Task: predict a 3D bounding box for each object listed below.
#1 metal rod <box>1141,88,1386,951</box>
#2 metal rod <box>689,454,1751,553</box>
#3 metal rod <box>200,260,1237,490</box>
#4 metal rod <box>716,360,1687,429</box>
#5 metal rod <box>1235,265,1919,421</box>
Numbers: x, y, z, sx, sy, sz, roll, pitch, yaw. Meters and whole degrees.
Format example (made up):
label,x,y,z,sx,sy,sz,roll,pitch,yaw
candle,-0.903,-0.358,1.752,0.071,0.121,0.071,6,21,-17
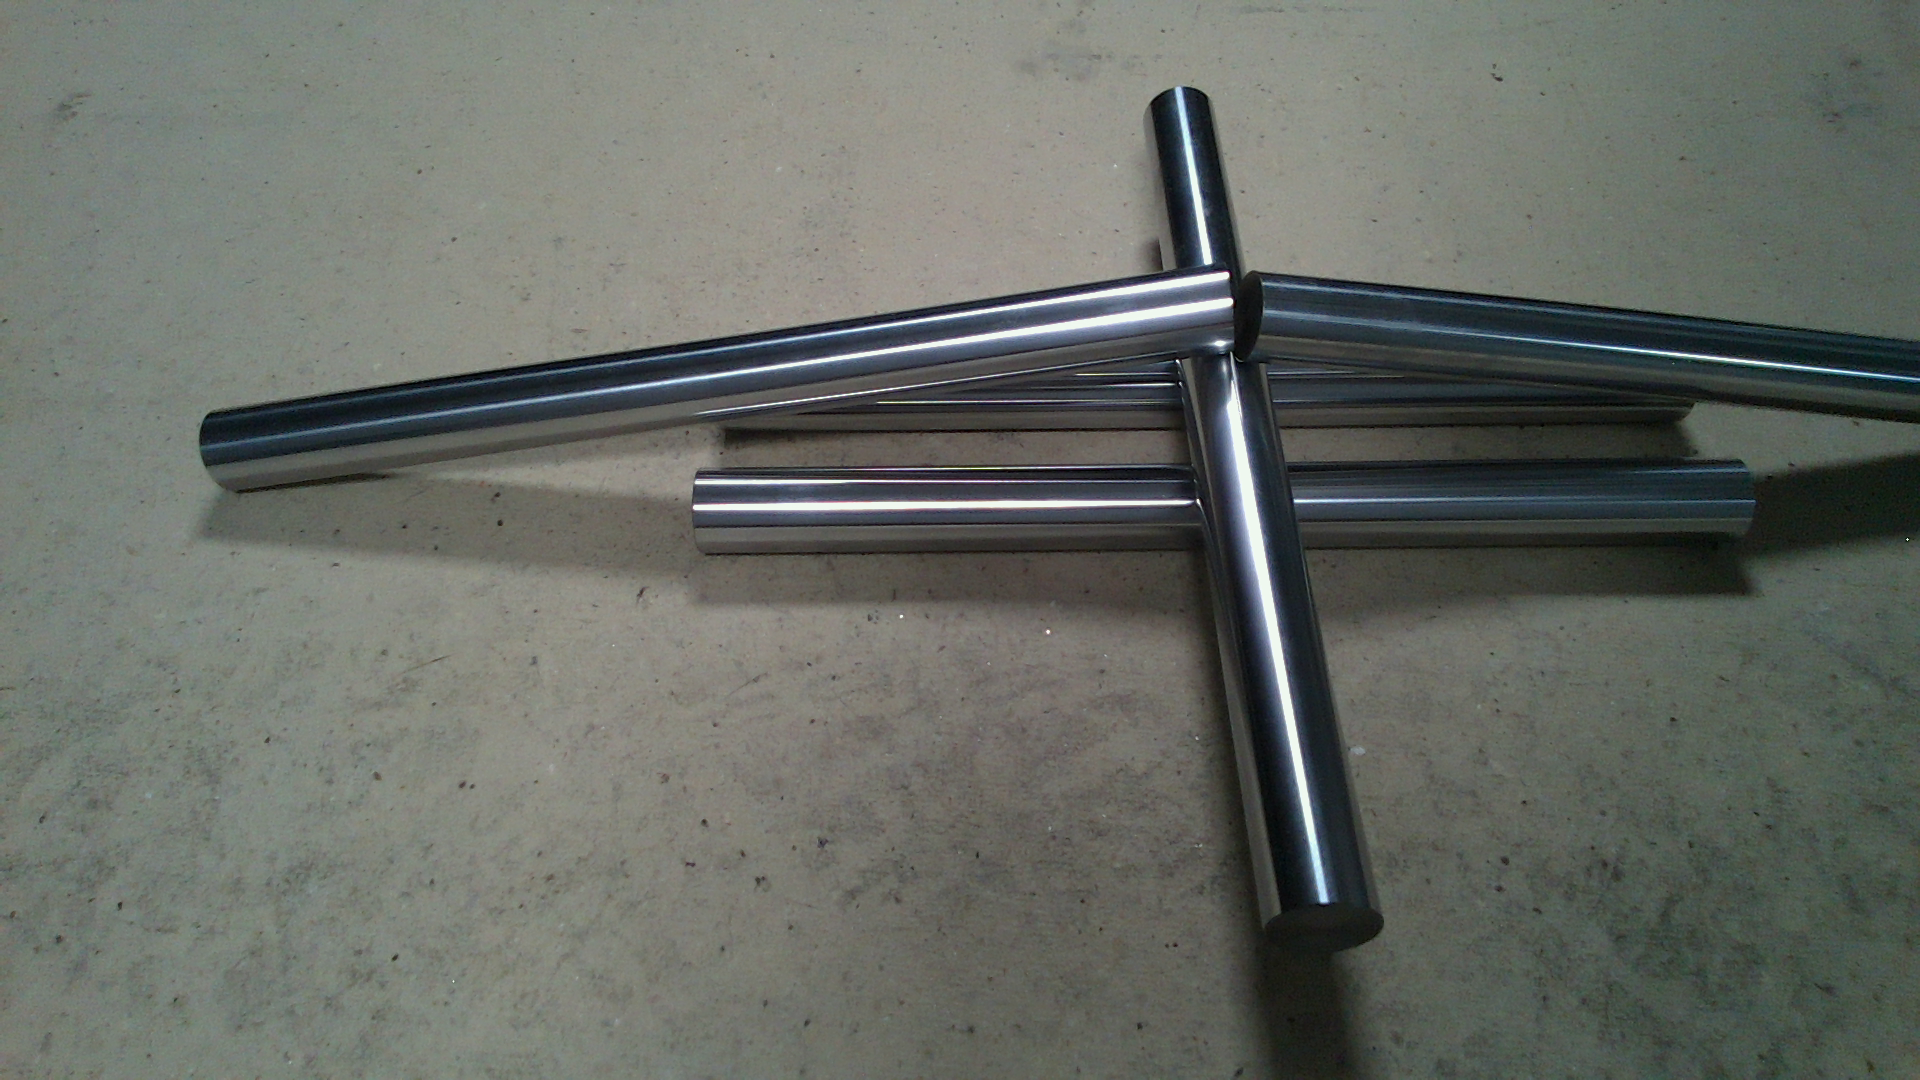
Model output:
label,x,y,z,sx,sy,sz,roll,pitch,yaw
metal rod,0.076,-0.033,0.387,0.025,0.025,0.300,0,50,0
metal rod,0.074,-0.011,0.400,0.300,0.025,0.025,-1,50,-1
metal rod,-0.073,-0.046,0.398,0.300,0.025,0.025,-7,50,6
metal rod,0.074,-0.049,0.432,0.300,0.025,0.025,-1,50,-1
metal rod,0.225,-0.053,0.404,0.300,0.025,0.025,4,49,-10
